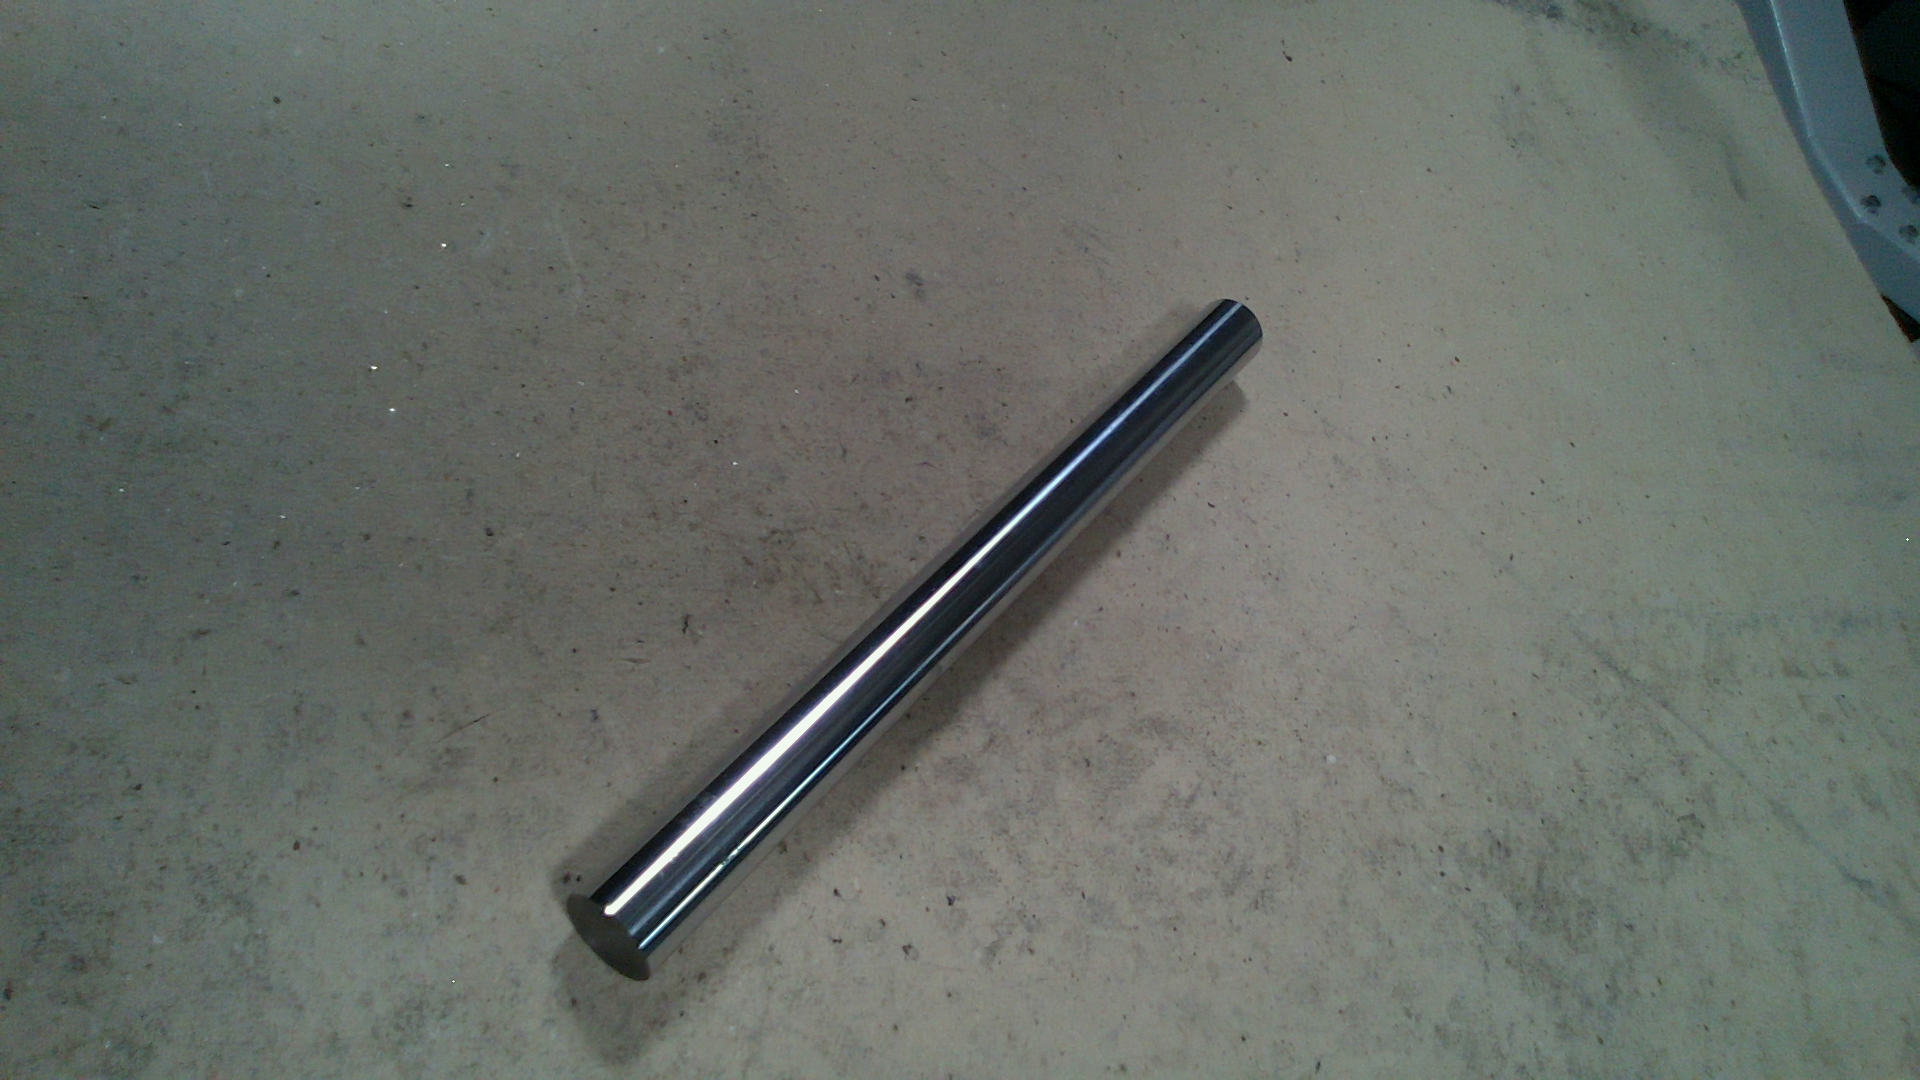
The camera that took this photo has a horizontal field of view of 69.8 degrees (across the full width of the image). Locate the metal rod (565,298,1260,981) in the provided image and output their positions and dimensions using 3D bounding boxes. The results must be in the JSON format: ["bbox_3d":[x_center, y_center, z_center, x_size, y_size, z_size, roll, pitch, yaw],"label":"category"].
[{"bbox_3d":[0.009,0.006,0.392,0.025,0.025,0.301,45,51,3],"label":"metal rod"}]
